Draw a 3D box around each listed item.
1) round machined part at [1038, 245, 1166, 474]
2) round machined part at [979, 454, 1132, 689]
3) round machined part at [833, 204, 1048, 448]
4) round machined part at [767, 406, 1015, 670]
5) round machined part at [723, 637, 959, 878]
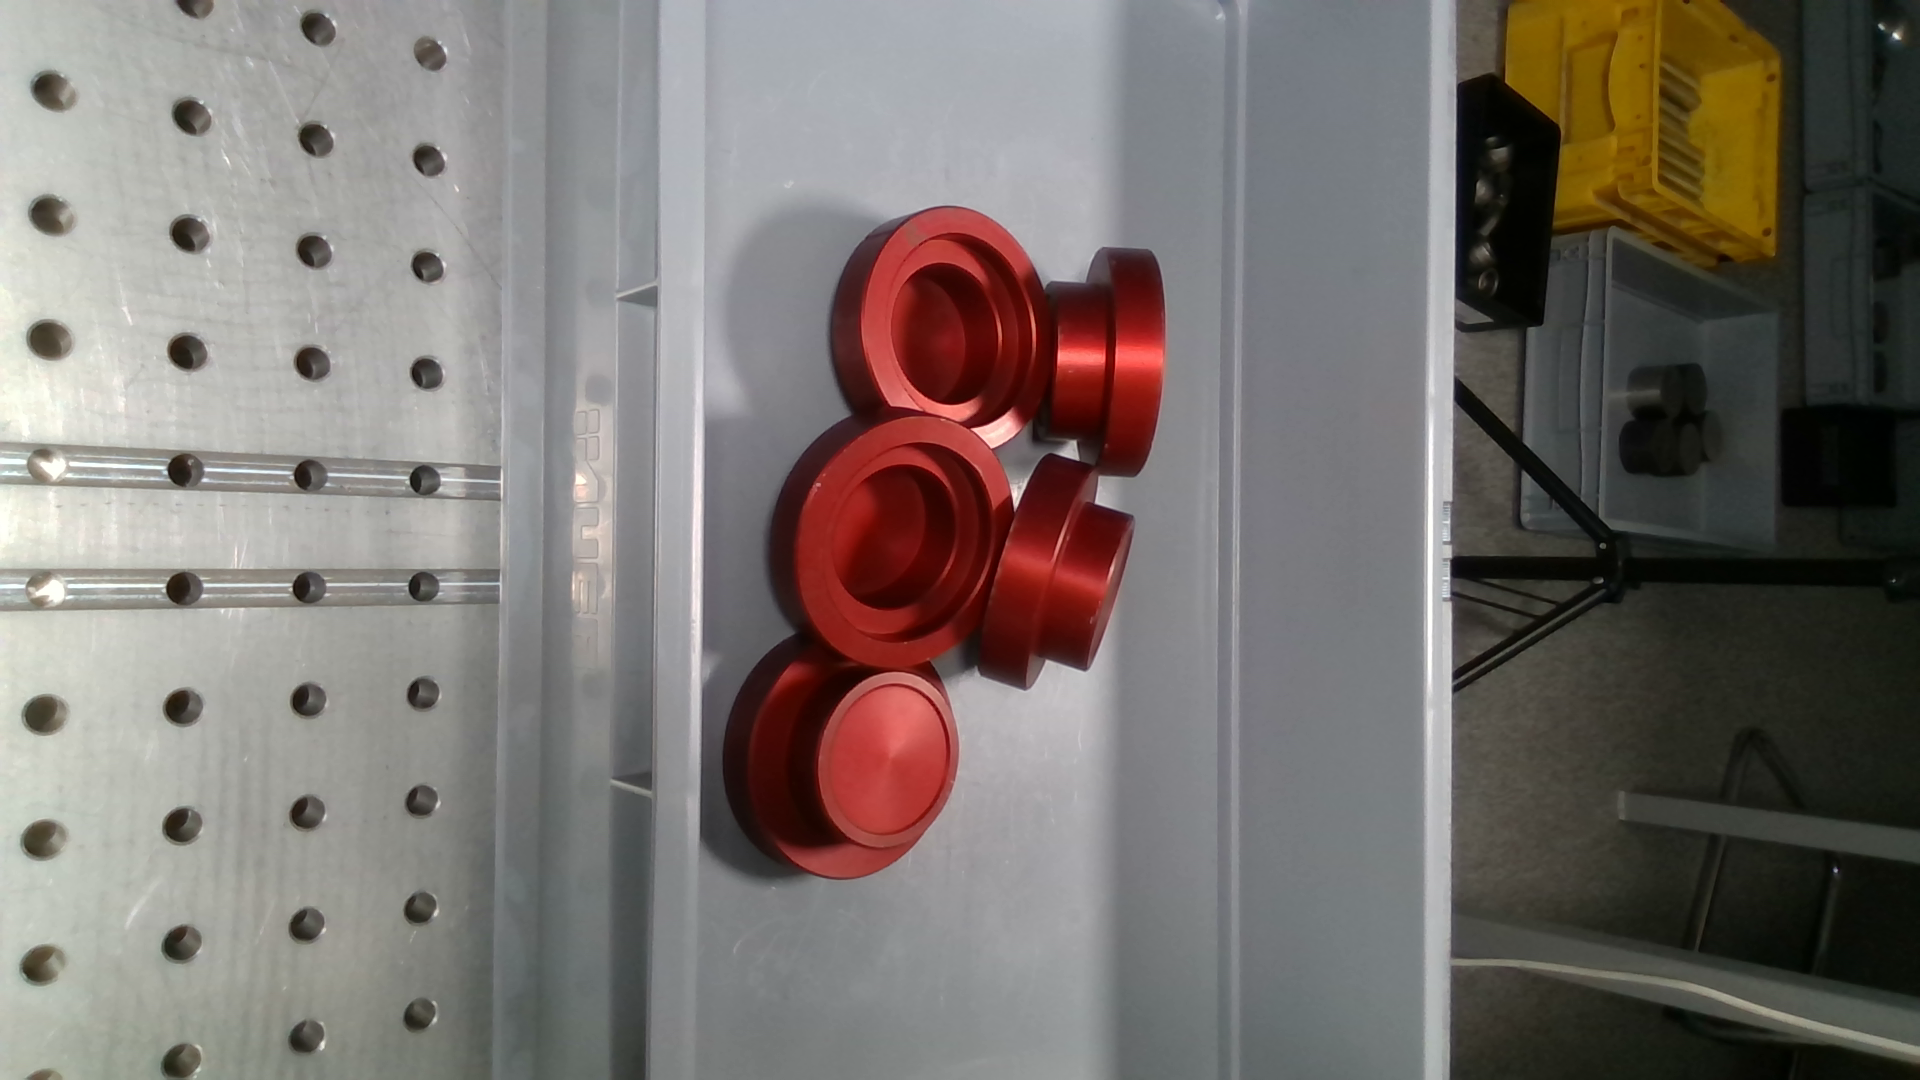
[{"bbox_3d":[0.057,-0.077,0.595,0.042,0.098,0.098,2,88,-5],"label":"round machined part"},{"bbox_3d":[0.043,0.016,0.571,0.098,0.042,0.098,18,89,-80],"label":"round machined part"},{"bbox_3d":[-0.012,-0.083,0.559,0.098,0.042,0.098,0,90,-40],"label":"round machined part"},{"bbox_3d":[-0.030,-0.003,0.530,0.098,0.042,0.098,-10,108,-32],"label":"round machined part"},{"bbox_3d":[-0.039,0.083,0.537,0.098,0.042,0.098,0,90,-40],"label":"round machined part"}]
